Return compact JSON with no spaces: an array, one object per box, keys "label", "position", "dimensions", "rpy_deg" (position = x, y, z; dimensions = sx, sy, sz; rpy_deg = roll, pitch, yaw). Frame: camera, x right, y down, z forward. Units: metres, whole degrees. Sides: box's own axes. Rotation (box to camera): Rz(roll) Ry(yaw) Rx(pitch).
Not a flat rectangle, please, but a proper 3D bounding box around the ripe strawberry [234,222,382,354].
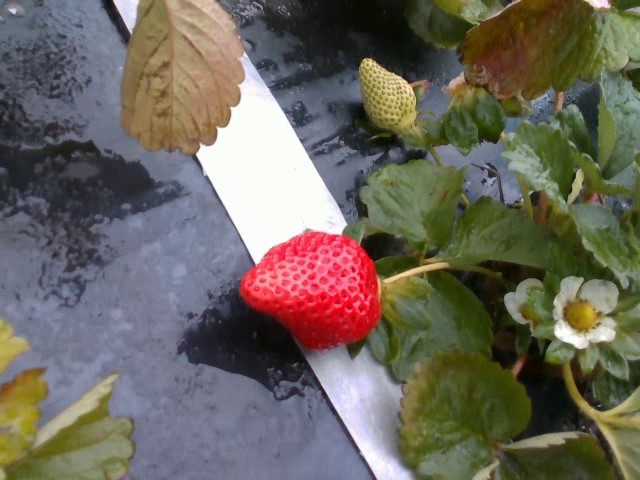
[{"label":"ripe strawberry","position":[-0.005,0.013,0.175],"dimensions":[0.038,0.042,0.051],"rpy_deg":[1,-2,42]}]
